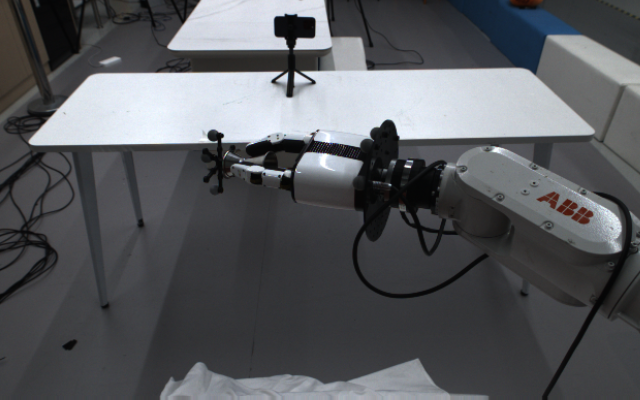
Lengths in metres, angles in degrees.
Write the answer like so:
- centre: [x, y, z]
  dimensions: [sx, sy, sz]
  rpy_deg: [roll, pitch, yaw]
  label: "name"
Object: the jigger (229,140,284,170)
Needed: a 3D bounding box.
- centre: [-0.095, -0.053, 0.697]
  dimensions: [0.071, 0.043, 0.043]
  rpy_deg: [5, 34, 21]
  label: "jigger"
